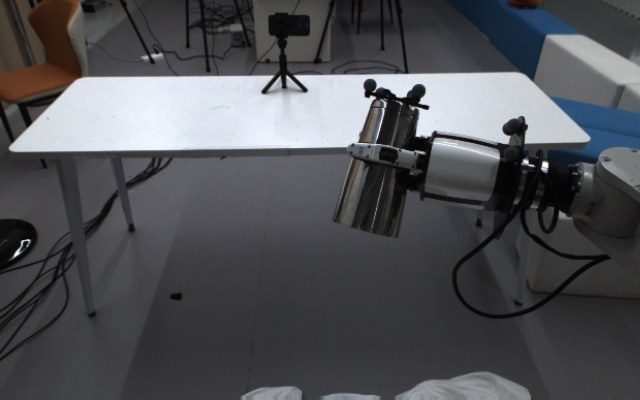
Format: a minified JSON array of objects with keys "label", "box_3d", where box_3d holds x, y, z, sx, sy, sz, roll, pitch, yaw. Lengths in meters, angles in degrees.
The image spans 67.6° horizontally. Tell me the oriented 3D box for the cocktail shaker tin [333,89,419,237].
[{"label":"cocktail shaker tin","box_3d":[0.080,-0.044,0.651,0.093,0.170,0.093,14,2,0]}]
